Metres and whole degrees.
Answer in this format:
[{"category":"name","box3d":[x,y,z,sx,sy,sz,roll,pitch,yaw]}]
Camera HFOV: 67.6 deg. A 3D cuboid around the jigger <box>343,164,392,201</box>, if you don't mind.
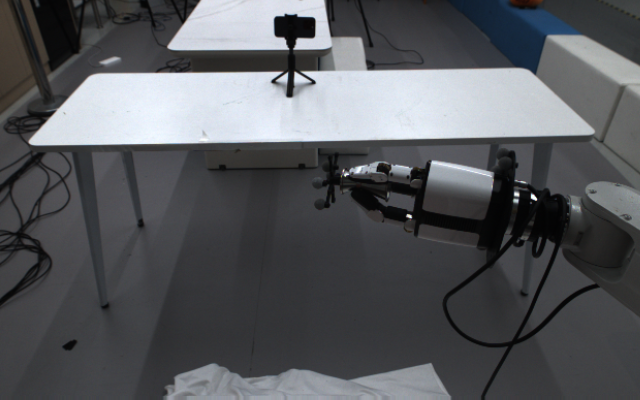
[{"category":"jigger","box3d":[0.073,-0.029,0.693,0.071,0.043,0.043,8,35,14]}]
